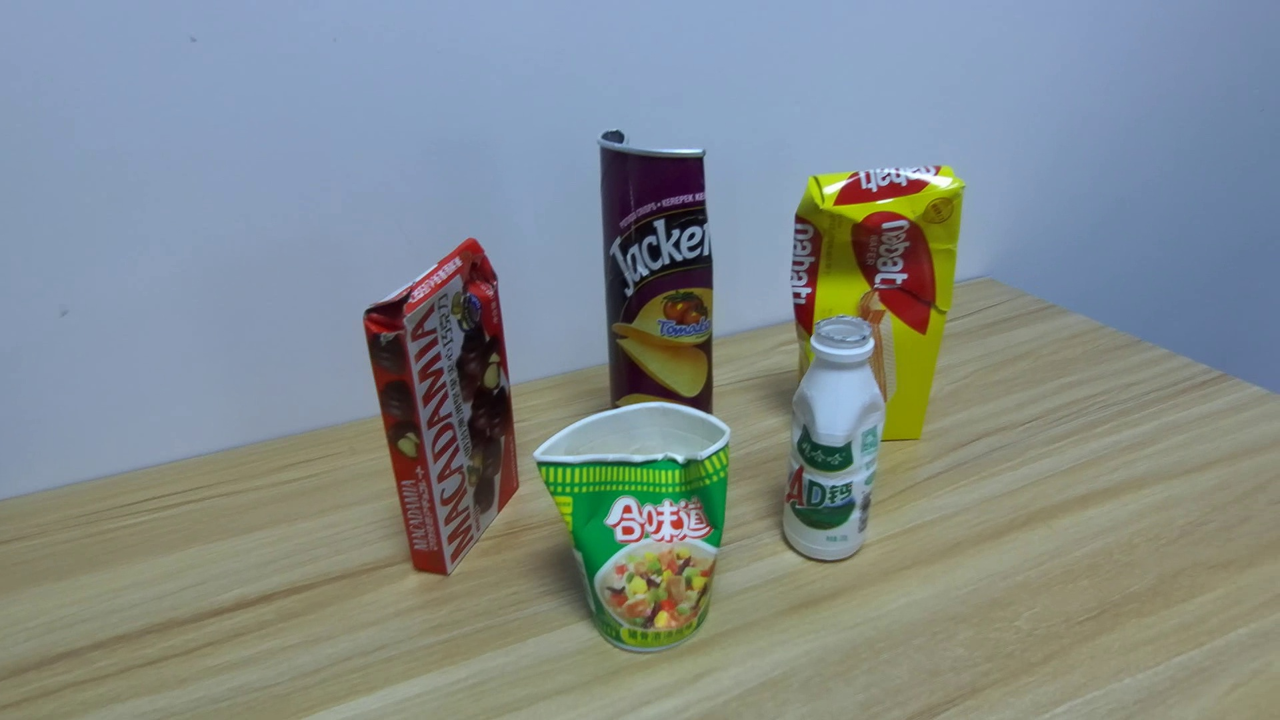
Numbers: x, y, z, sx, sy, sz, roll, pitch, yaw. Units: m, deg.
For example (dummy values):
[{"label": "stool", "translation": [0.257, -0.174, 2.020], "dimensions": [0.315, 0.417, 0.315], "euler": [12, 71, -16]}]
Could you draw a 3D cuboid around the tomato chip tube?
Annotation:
[{"label": "tomato chip tube", "translation": [0.014, -0.029, 0.477], "dimensions": [0.076, 0.235, 0.077], "euler": [2, 27, 10]}]

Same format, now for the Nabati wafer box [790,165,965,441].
[{"label": "Nabati wafer box", "translation": [0.162, -0.034, 0.507], "dimensions": [0.107, 0.204, 0.042], "euler": [-3, 30, 0]}]

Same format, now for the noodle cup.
[{"label": "noodle cup", "translation": [0.006, 0.091, 0.384], "dimensions": [0.082, 0.122, 0.075], "euler": [4, 21, 32]}]

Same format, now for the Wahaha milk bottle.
[{"label": "Wahaha milk bottle", "translation": [0.112, 0.048, 0.415], "dimensions": [0.055, 0.149, 0.055], "euler": [-3, 29, 2]}]

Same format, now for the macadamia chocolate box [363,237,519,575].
[{"label": "macadamia chocolate box", "translation": [-0.113, 0.029, 0.434], "dimensions": [0.027, 0.187, 0.103], "euler": [10, 30, 16]}]
